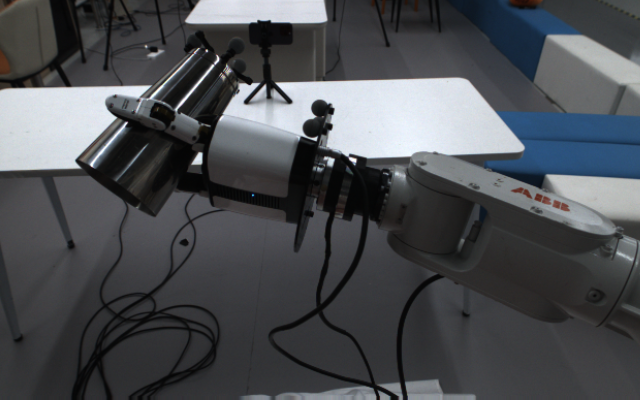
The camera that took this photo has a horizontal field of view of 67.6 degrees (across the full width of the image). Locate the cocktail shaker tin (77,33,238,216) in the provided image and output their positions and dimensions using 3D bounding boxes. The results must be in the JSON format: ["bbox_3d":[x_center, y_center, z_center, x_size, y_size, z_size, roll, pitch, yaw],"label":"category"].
[{"bbox_3d":[-0.160,-0.080,0.510,0.093,0.093,0.170,22,67,26],"label":"cocktail shaker tin"}]
